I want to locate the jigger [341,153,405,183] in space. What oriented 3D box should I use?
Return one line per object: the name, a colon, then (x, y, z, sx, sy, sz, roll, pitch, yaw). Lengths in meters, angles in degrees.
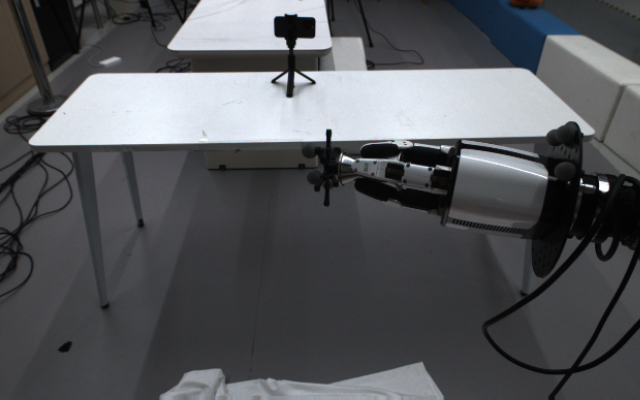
jigger: (0.065, -0.038, 0.547, 0.071, 0.043, 0.043, 3, 34, 18)
